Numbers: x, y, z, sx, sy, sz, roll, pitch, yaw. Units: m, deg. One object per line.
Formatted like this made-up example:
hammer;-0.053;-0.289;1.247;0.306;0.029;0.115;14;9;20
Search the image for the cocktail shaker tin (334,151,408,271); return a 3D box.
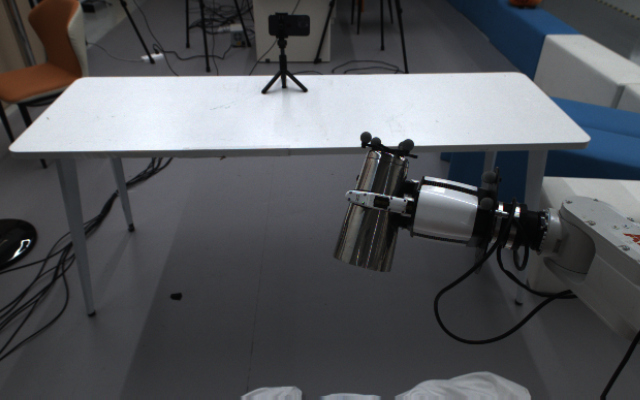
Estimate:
cocktail shaker tin;0.083;0.014;0.742;0.093;0.170;0.093;14;2;-1
